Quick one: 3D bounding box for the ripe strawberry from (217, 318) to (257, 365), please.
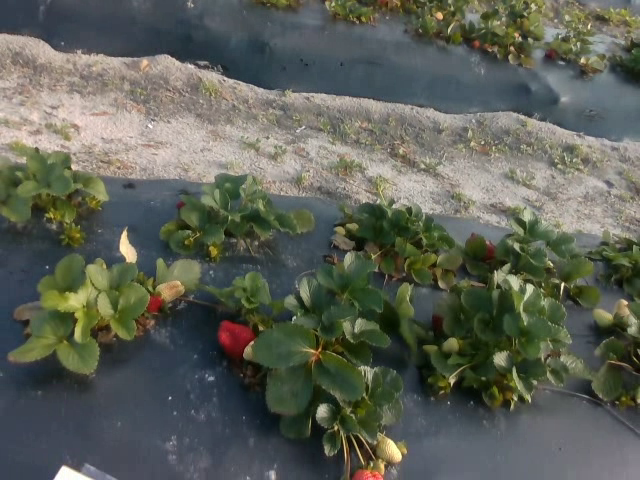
[{"bbox_3d":[-0.134,0.151,0.951,0.071,0.058,0.057,48,-27,-20],"label":"ripe strawberry"}]
